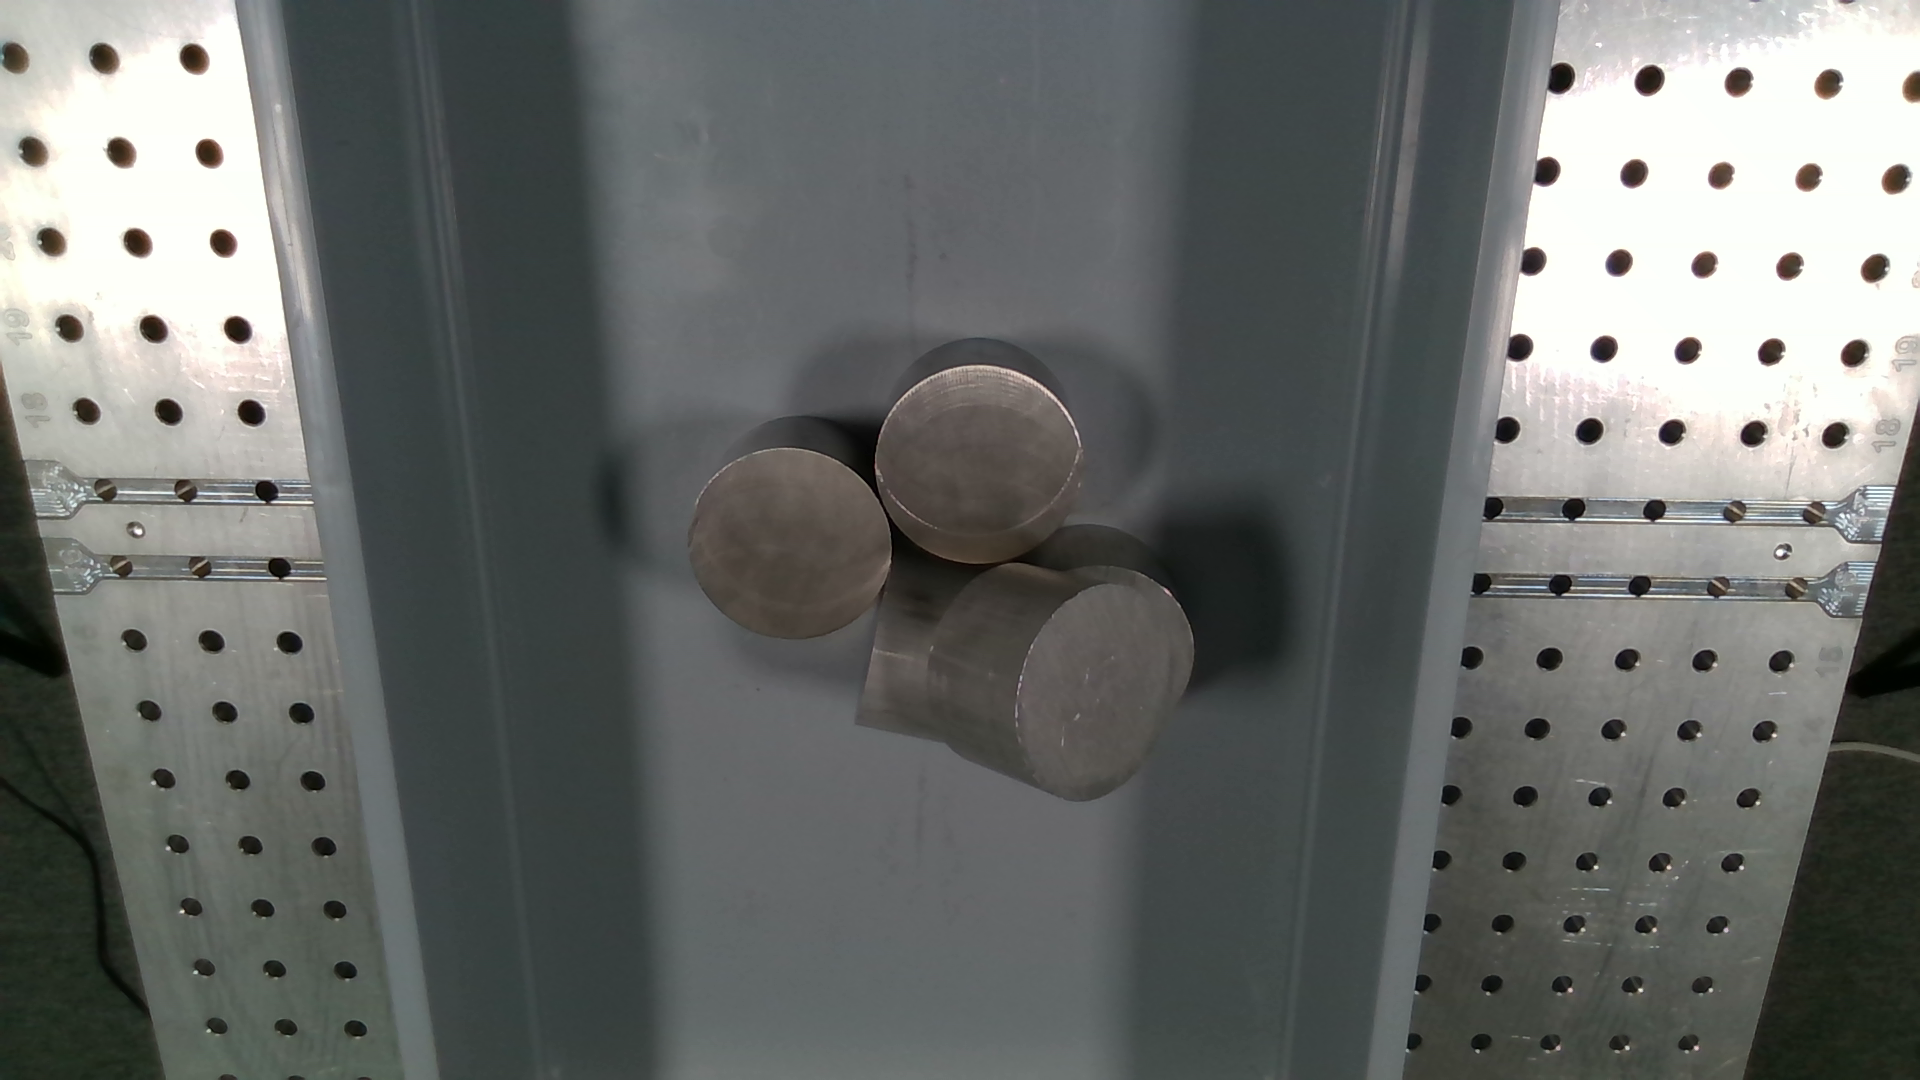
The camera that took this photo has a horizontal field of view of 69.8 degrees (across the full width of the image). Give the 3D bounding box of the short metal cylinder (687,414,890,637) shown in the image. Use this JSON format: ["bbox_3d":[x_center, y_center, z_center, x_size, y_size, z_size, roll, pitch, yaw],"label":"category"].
[{"bbox_3d":[-0.068,-0.007,0.567,0.080,0.050,0.080,0,110,0],"label":"short metal cylinder"}]

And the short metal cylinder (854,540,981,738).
[{"bbox_3d":[-0.011,0.041,0.570,0.050,0.080,0.080,13,110,-4],"label":"short metal cylinder"}]

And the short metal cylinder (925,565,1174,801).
[{"bbox_3d":[0.034,0.051,0.514,0.080,0.050,0.080,-9,104,-38],"label":"short metal cylinder"}]

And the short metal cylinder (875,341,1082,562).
[{"bbox_3d":[0.007,-0.037,0.556,0.080,0.050,0.080,0,110,0],"label":"short metal cylinder"}]

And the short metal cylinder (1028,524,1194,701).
[{"bbox_3d":[0.055,0.038,0.584,0.080,0.050,0.080,0,110,0],"label":"short metal cylinder"}]
